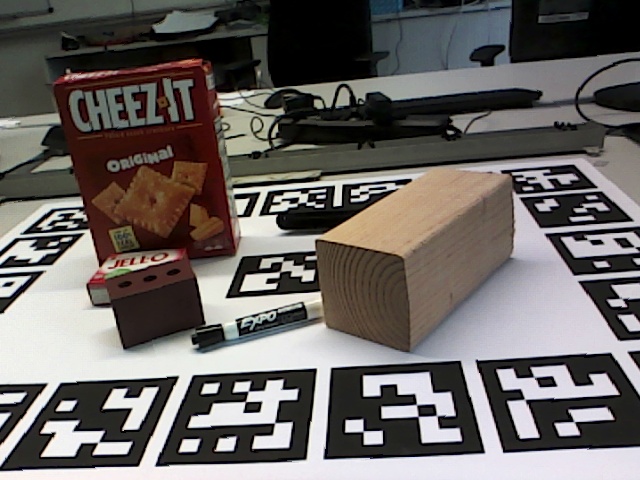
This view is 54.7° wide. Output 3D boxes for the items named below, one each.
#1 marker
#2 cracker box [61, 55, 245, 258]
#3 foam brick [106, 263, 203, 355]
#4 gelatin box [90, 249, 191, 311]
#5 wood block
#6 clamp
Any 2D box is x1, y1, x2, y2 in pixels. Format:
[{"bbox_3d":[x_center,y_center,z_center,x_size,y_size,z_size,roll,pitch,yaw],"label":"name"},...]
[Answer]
[{"bbox_3d":[-0.068,0.083,0.553,0.121,0.019,0.020,-14,28,-12],"label":"marker"},{"bbox_3d":[-0.184,-0.092,0.713,0.164,0.213,0.072,-5,25,2],"label":"cracker box"},{"bbox_3d":[-0.157,0.064,0.584,0.078,0.051,0.053,-16,29,-16],"label":"foam brick"},{"bbox_3d":[-0.191,0.042,0.668,0.089,0.030,0.073,-6,28,5],"label":"gelatin box"},{"bbox_3d":[0.092,0.012,0.581,0.090,0.091,0.205,11,29,38],"label":"wood block"},{"bbox_3d":[0.065,-0.032,0.729,0.202,0.036,0.166,-20,29,-21],"label":"clamp"}]
